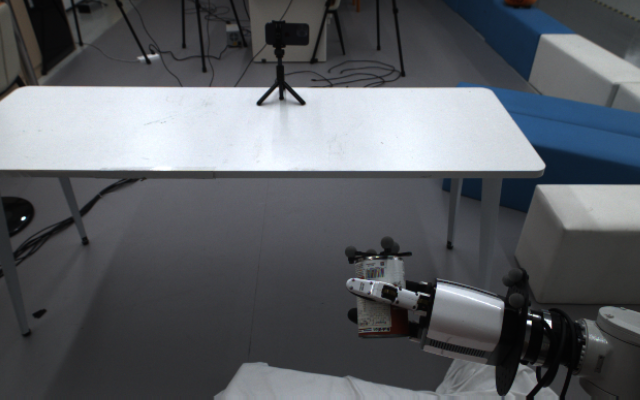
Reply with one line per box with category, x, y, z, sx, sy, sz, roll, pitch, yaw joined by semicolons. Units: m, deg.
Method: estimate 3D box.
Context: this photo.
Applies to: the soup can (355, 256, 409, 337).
soup can;0.085;0.129;0.640;0.067;0.067;0.101;-1;71;-5
